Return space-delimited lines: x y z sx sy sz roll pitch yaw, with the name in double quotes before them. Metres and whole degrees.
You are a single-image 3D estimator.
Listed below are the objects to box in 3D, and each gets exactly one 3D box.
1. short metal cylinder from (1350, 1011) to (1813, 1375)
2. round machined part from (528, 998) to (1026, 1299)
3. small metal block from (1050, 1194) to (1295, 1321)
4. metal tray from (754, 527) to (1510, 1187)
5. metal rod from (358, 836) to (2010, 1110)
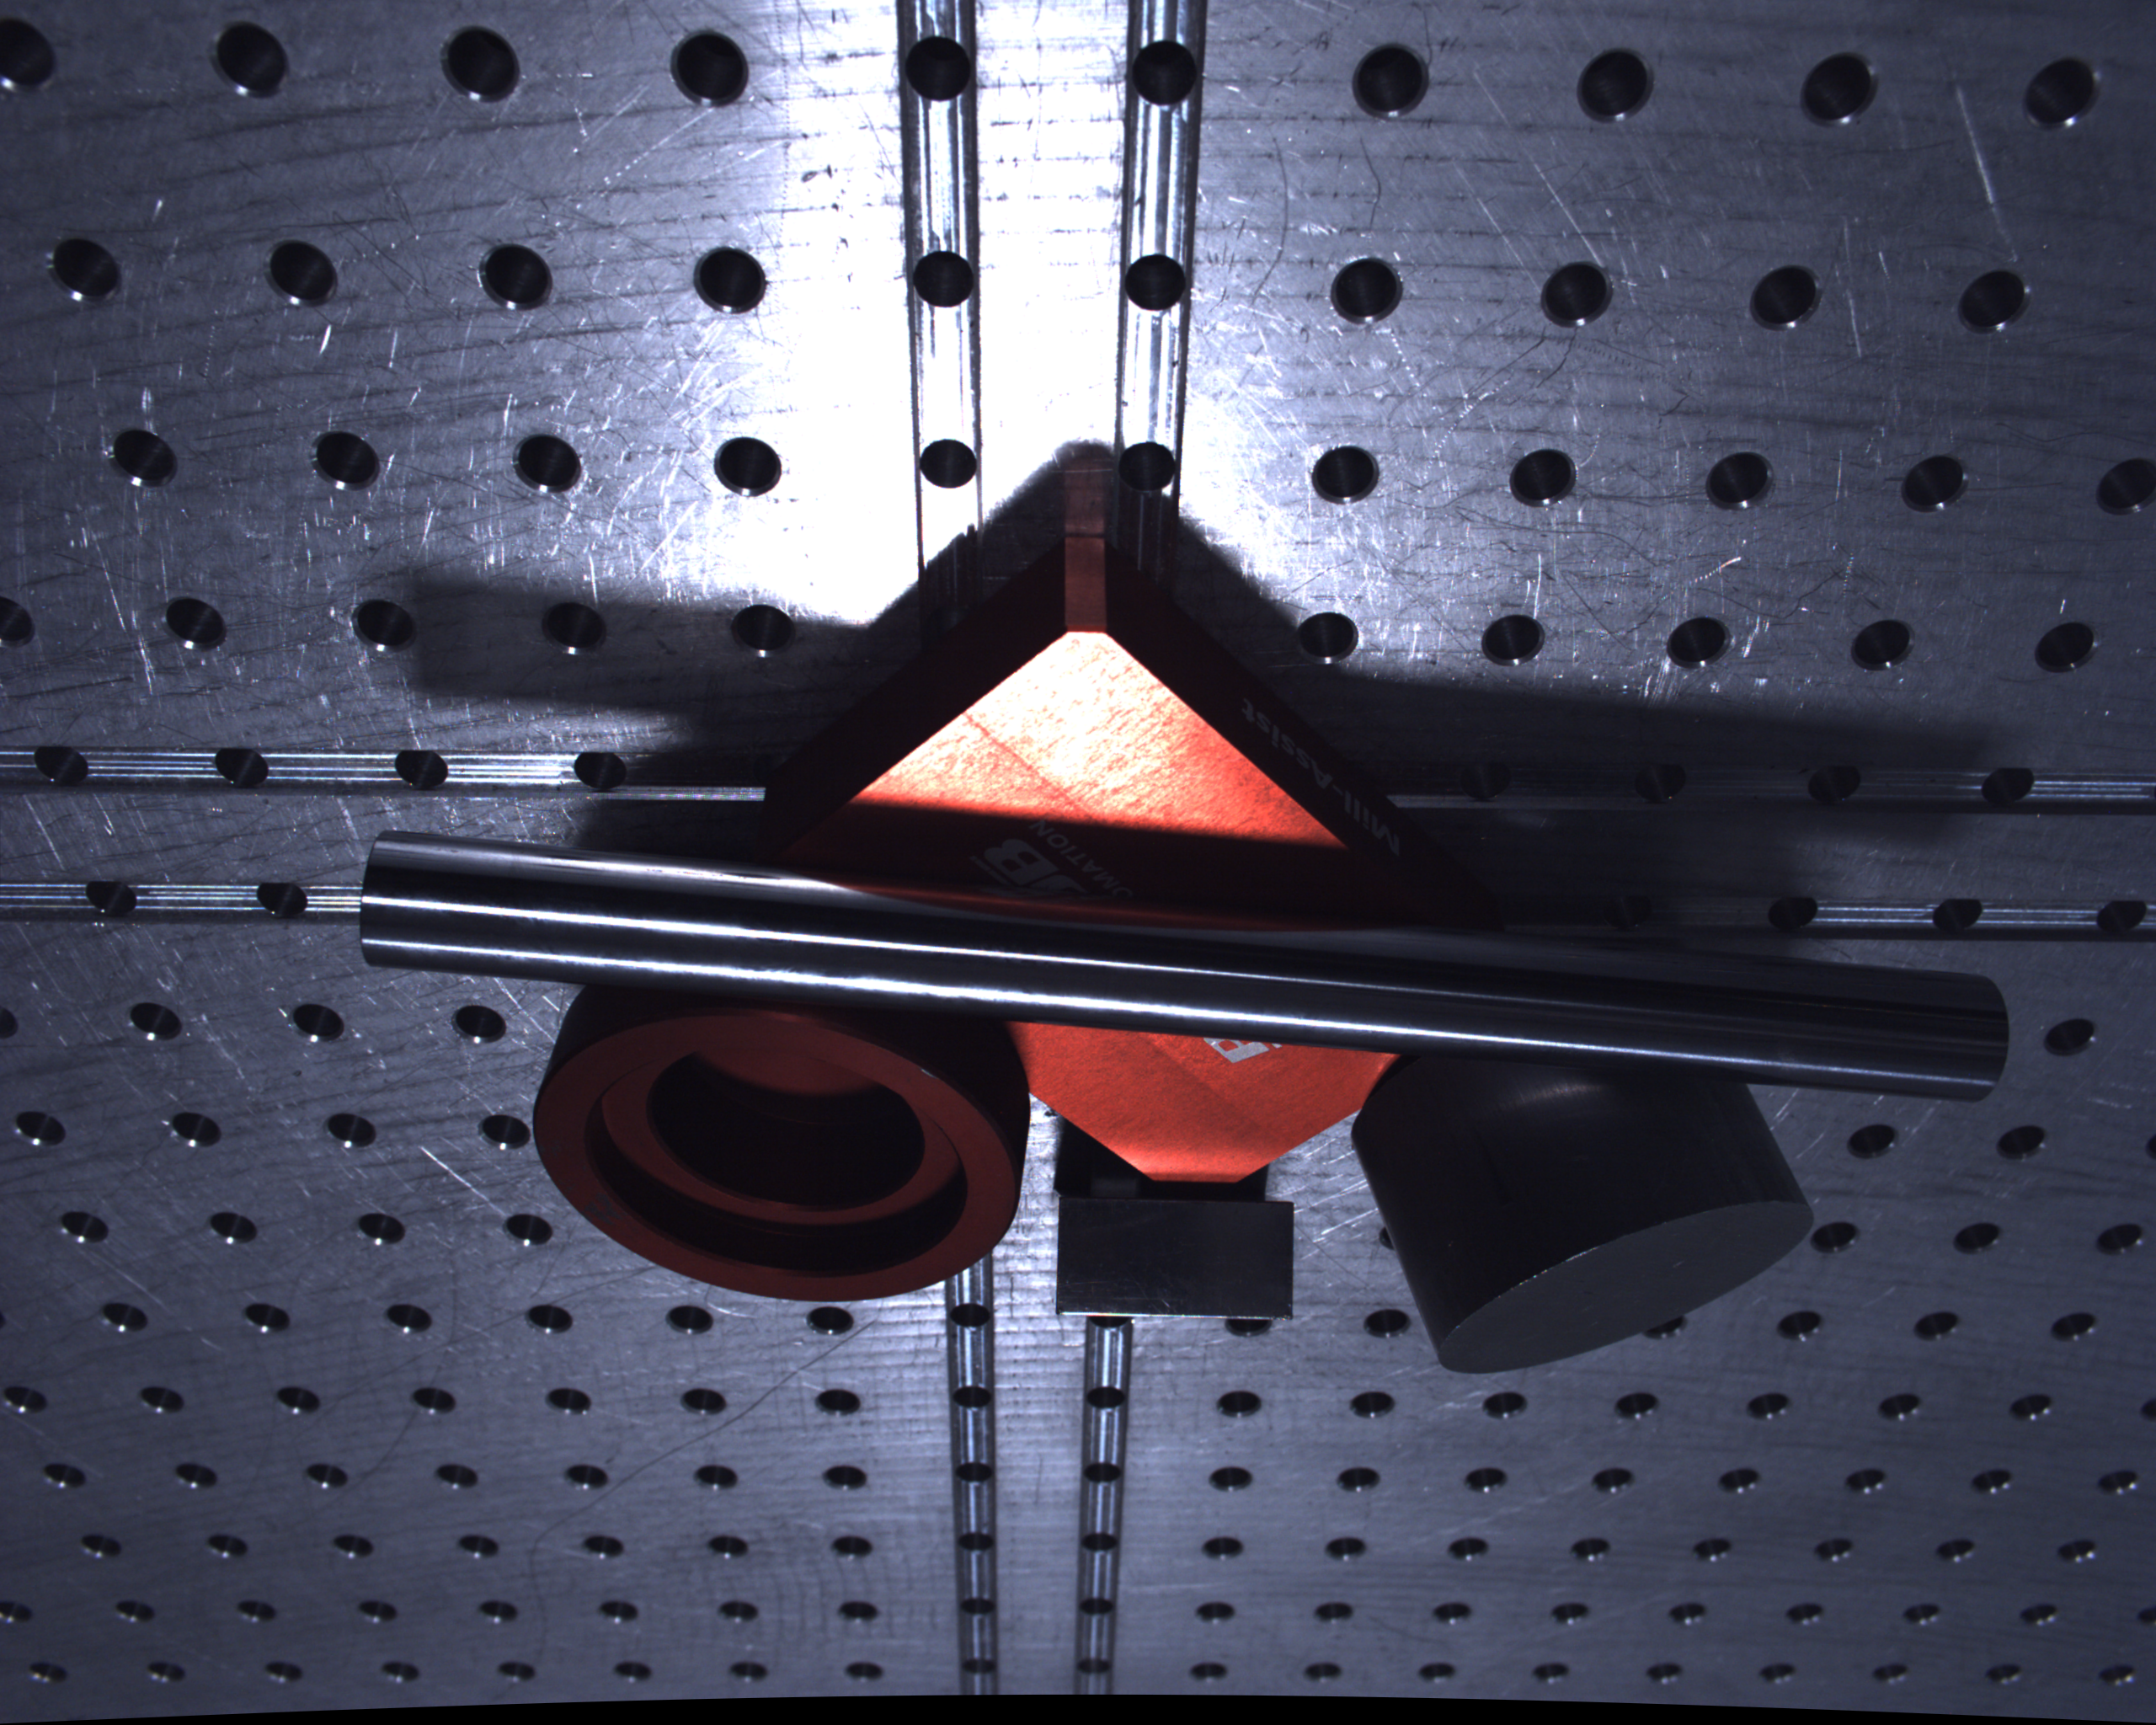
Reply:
"short metal cylinder" 0.103 0.067 0.434 0.081 0.050 0.080 -15 151 -8
"round machined part" -0.060 0.047 0.433 0.099 0.042 0.097 3 137 3
"small metal block" 0.020 0.087 0.469 0.050 0.025 0.050 2 173 -3
"metal tray" 0.014 0.005 0.414 0.090 0.030 0.130 -36 122 26
"metal rod" 0.024 0.021 0.389 0.302 0.025 0.025 5 130 -5
